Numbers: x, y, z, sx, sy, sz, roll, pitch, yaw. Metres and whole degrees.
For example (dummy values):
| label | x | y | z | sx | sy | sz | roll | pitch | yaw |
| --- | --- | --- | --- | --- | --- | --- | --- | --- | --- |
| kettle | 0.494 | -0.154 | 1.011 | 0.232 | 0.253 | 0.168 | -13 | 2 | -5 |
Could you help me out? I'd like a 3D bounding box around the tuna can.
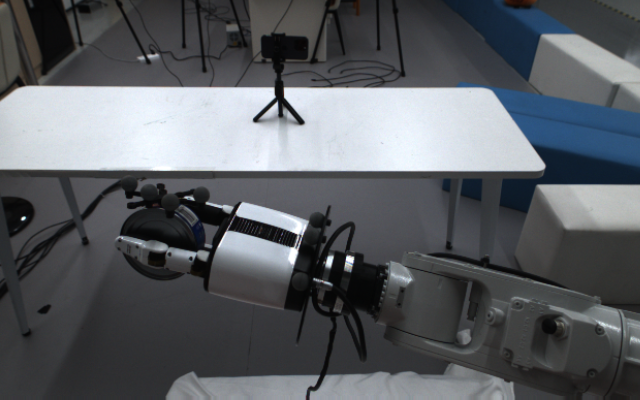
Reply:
| label | x | y | z | sx | sy | sz | roll | pitch | yaw |
| --- | --- | --- | --- | --- | --- | --- | --- | --- | --- |
| tuna can | -0.171 | 0.042 | 0.533 | 0.085 | 0.085 | 0.034 | 5 | 18 | 5 |
